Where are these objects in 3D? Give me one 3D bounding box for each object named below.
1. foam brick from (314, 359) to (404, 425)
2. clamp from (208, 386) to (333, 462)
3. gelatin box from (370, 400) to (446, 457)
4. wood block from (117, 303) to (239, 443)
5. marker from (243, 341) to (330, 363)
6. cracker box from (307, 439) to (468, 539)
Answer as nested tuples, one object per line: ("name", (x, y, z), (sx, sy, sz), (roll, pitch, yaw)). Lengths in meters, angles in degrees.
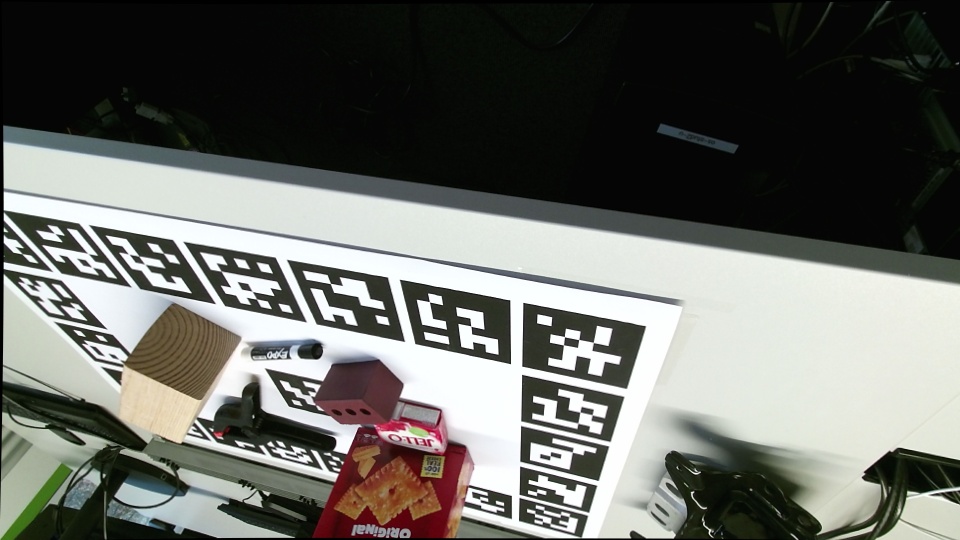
("foam brick", (-0.137, 0.139, 0.605), (0.078, 0.051, 0.053), (-12, 126, 28))
("clamp", (-0.334, 0.237, 0.783), (0.203, 0.036, 0.166), (-17, 125, 32))
("gelatin box", (-0.090, 0.194, 0.663), (0.089, 0.030, 0.073), (7, 133, 13))
("wood block", (-0.384, 0.139, 0.671), (0.090, 0.090, 0.206), (31, 138, -15))
("marker", (-0.221, 0.094, 0.613), (0.121, 0.019, 0.020), (-7, 128, 25))
("cracker box", (-0.124, 0.331, 0.668), (0.164, 0.213, 0.072), (7, 136, 16))
